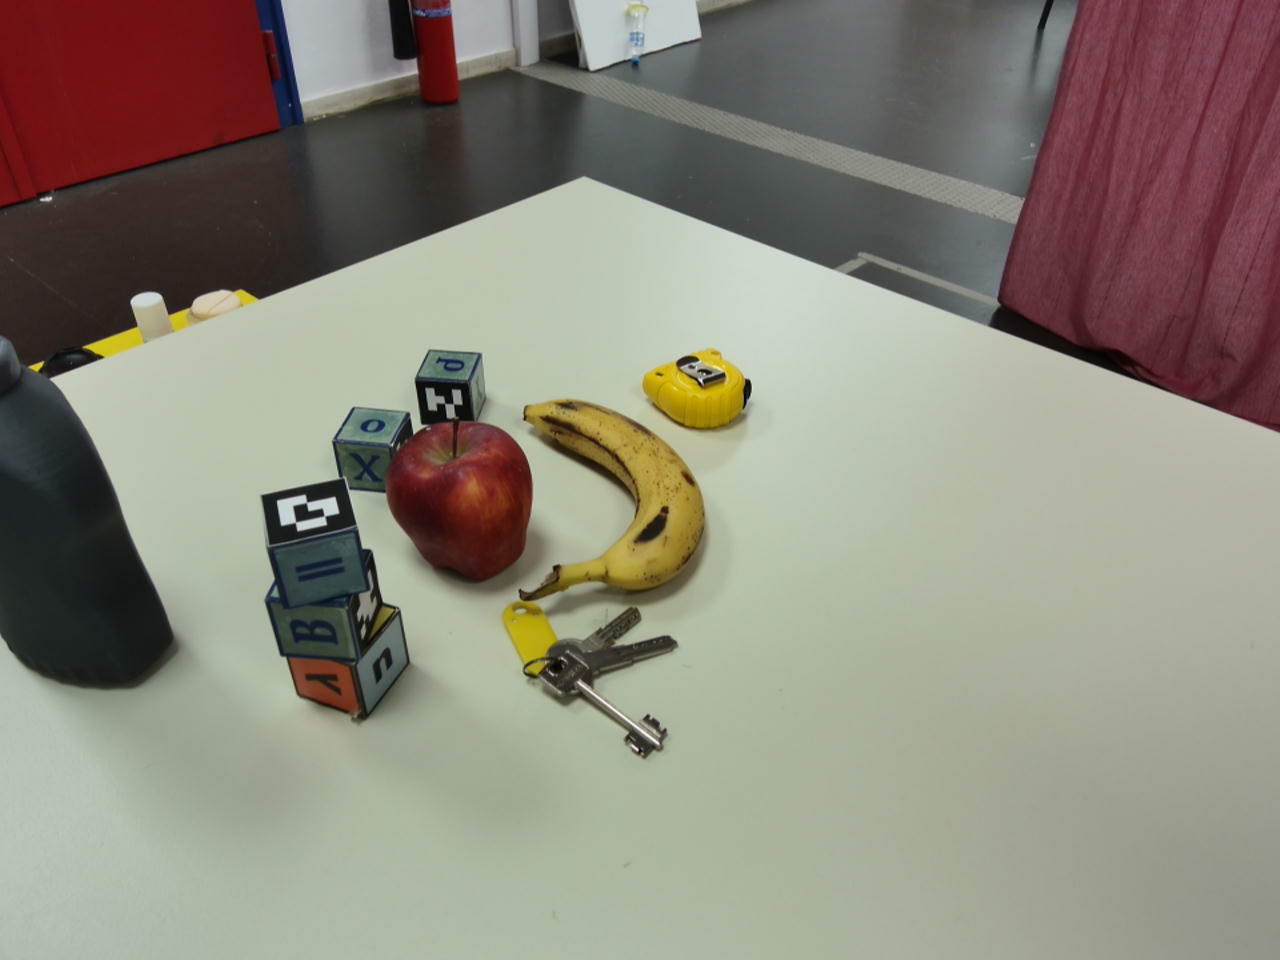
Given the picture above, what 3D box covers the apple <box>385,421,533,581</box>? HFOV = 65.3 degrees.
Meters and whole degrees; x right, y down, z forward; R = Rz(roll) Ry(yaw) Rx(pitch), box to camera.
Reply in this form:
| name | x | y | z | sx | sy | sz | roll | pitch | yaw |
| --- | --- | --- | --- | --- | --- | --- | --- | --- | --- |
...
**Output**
| name | x | y | z | sx | sy | sz | roll | pitch | yaw |
| --- | --- | --- | --- | --- | --- | --- | --- | --- | --- |
| apple | -0.098 | 0.006 | 0.548 | 0.083 | 0.090 | 0.083 | 1 | 37 | -1 |
